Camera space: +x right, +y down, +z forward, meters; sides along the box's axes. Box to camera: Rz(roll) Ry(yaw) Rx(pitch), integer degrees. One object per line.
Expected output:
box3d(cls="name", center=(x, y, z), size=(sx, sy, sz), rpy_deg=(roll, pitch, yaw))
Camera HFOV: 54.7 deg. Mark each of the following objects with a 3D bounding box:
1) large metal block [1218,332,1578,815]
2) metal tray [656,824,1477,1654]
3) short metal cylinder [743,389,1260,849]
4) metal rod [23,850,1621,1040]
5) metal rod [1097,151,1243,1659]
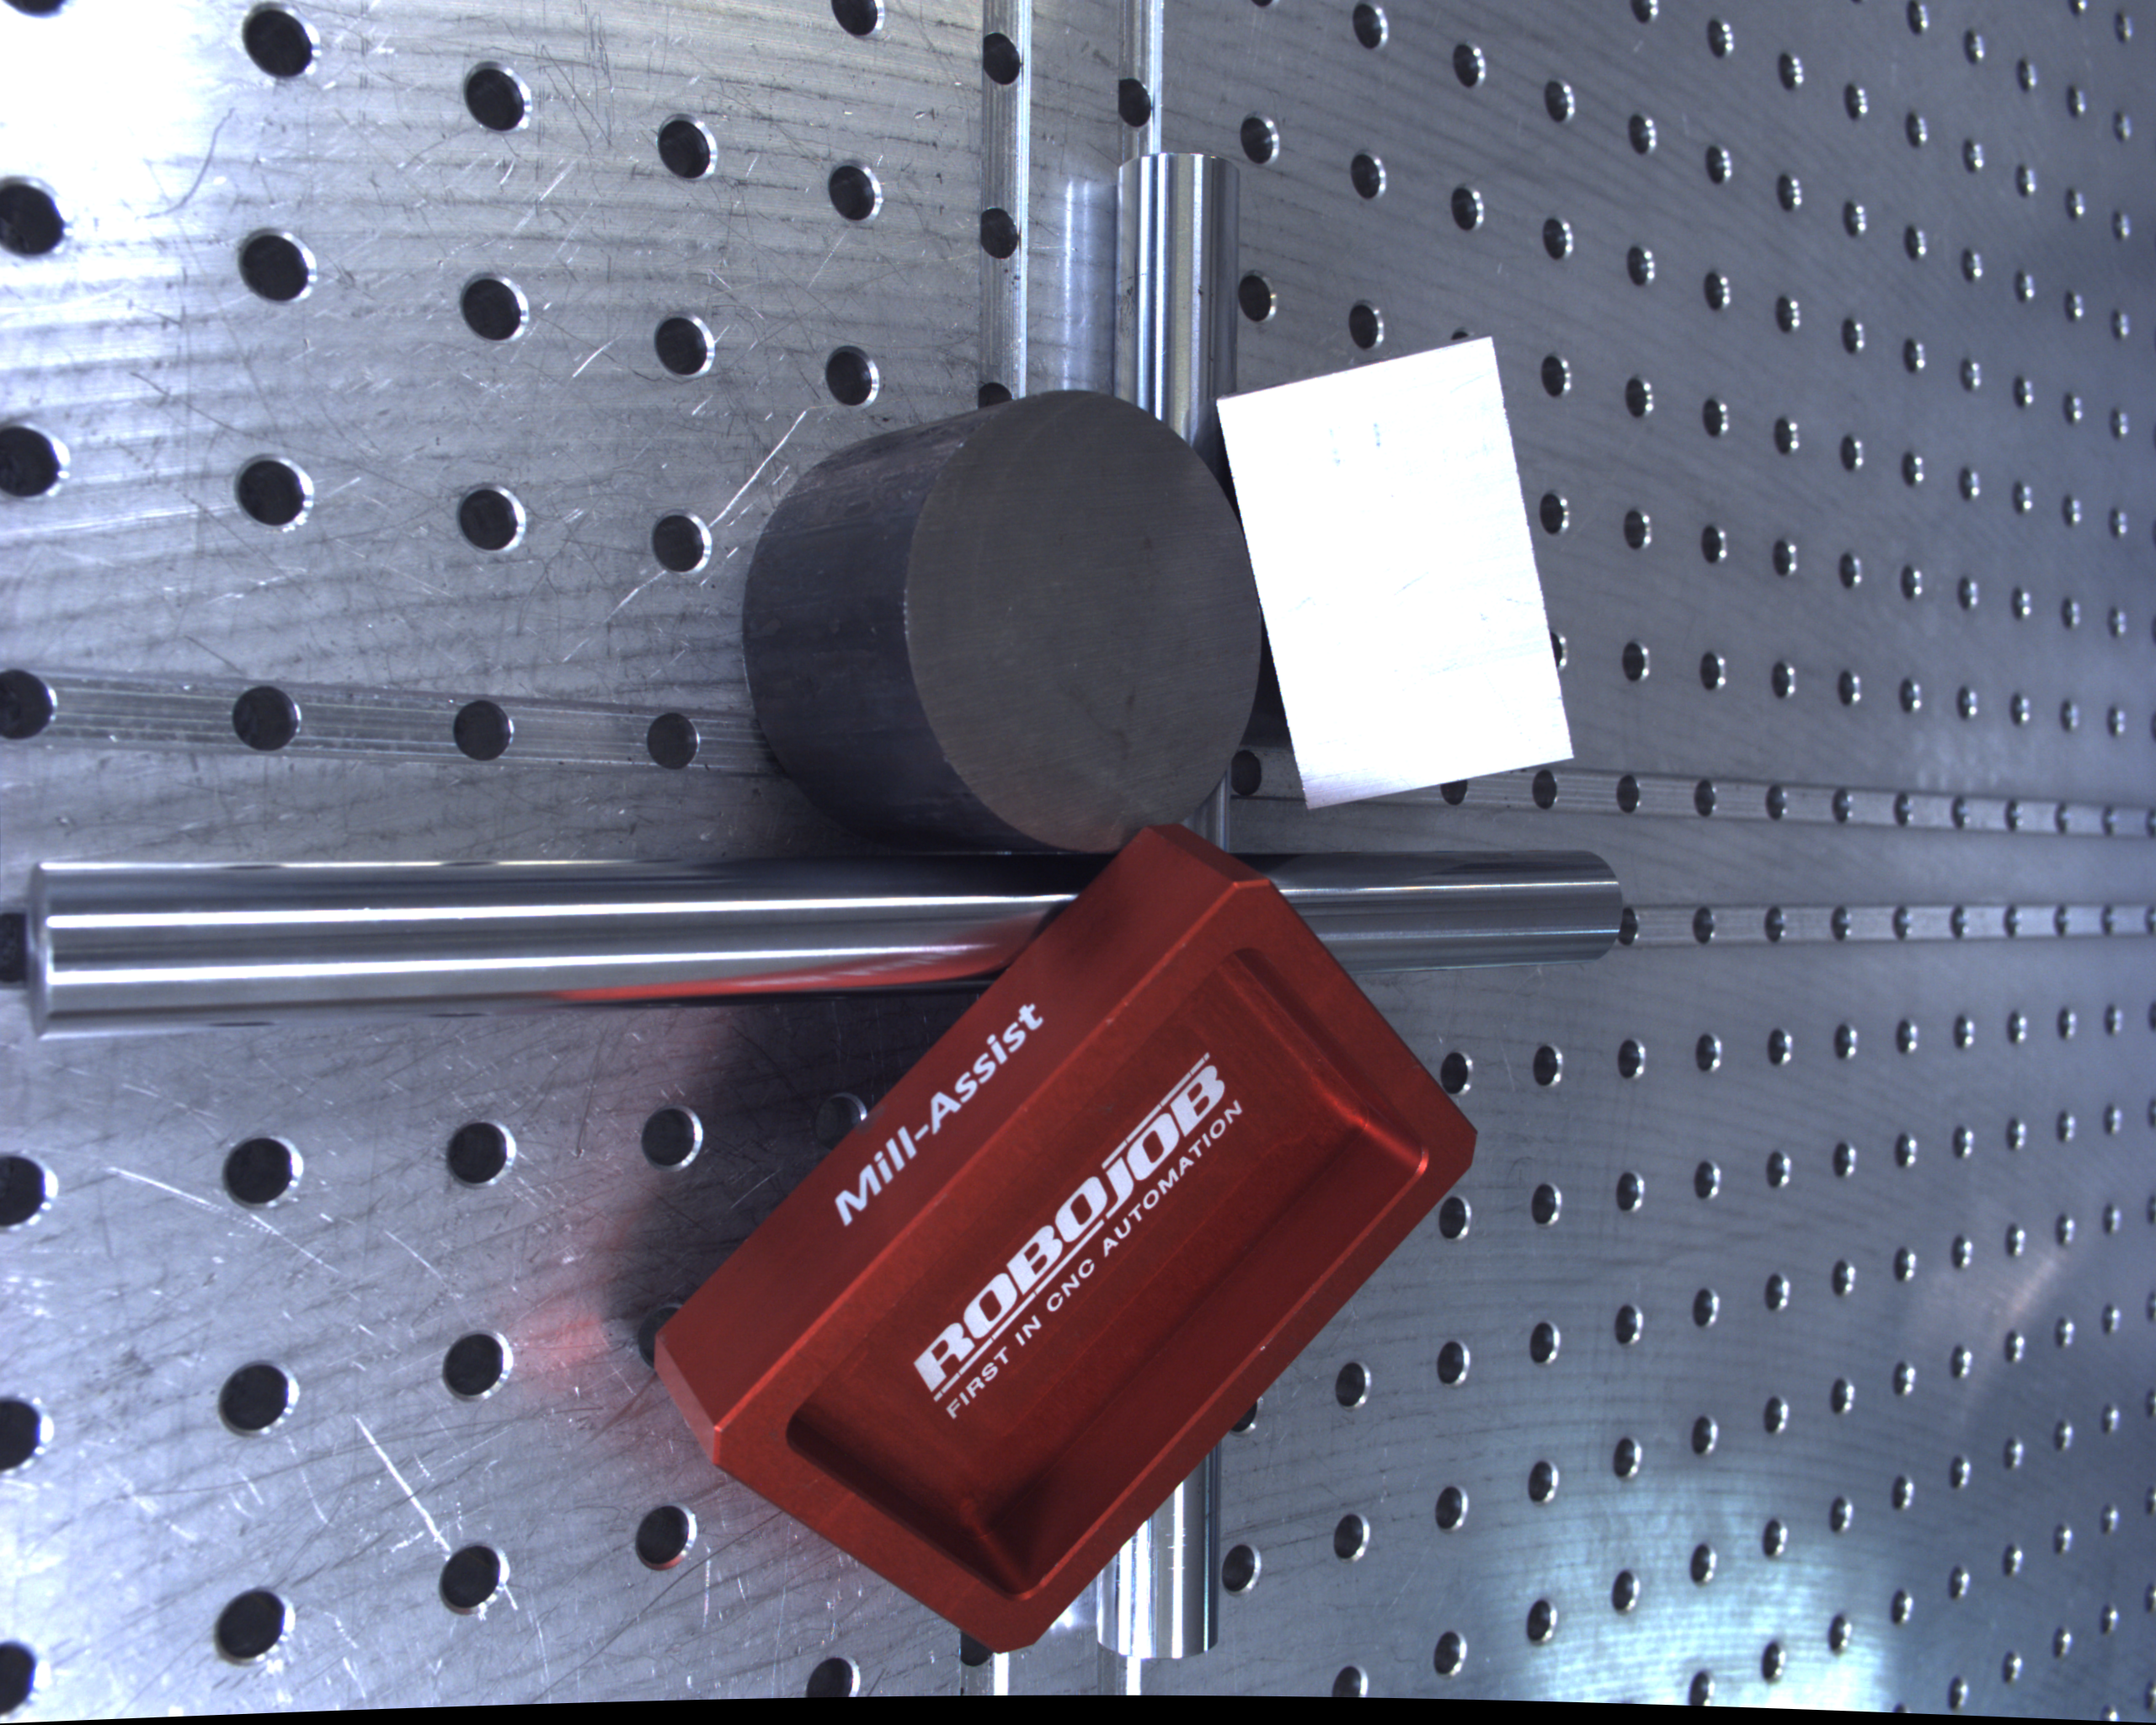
box3d(cls="large metal block", center=(0.065, -0.061, 0.421), size=(0.080, 0.050, 0.080), rpy_deg=(-58, 136, -73))
box3d(cls="metal tray", center=(0.002, 0.068, 0.374), size=(0.130, 0.030, 0.090), rpy_deg=(-46, 126, -7))
box3d(cls="short metal cylinder", center=(-0.013, -0.042, 0.381), size=(0.081, 0.050, 0.079), rpy_deg=(0, 90, -40))
box3d(cls="metal rod", center=(-0.018, 0.011, 0.372), size=(0.303, 0.025, 0.025), rpy_deg=(-1, 91, -33))
box3d(cls="metal rod", center=(0.019, 0.008, 0.425), size=(0.025, 0.025, 0.298), rpy_deg=(1, 90, -40))
